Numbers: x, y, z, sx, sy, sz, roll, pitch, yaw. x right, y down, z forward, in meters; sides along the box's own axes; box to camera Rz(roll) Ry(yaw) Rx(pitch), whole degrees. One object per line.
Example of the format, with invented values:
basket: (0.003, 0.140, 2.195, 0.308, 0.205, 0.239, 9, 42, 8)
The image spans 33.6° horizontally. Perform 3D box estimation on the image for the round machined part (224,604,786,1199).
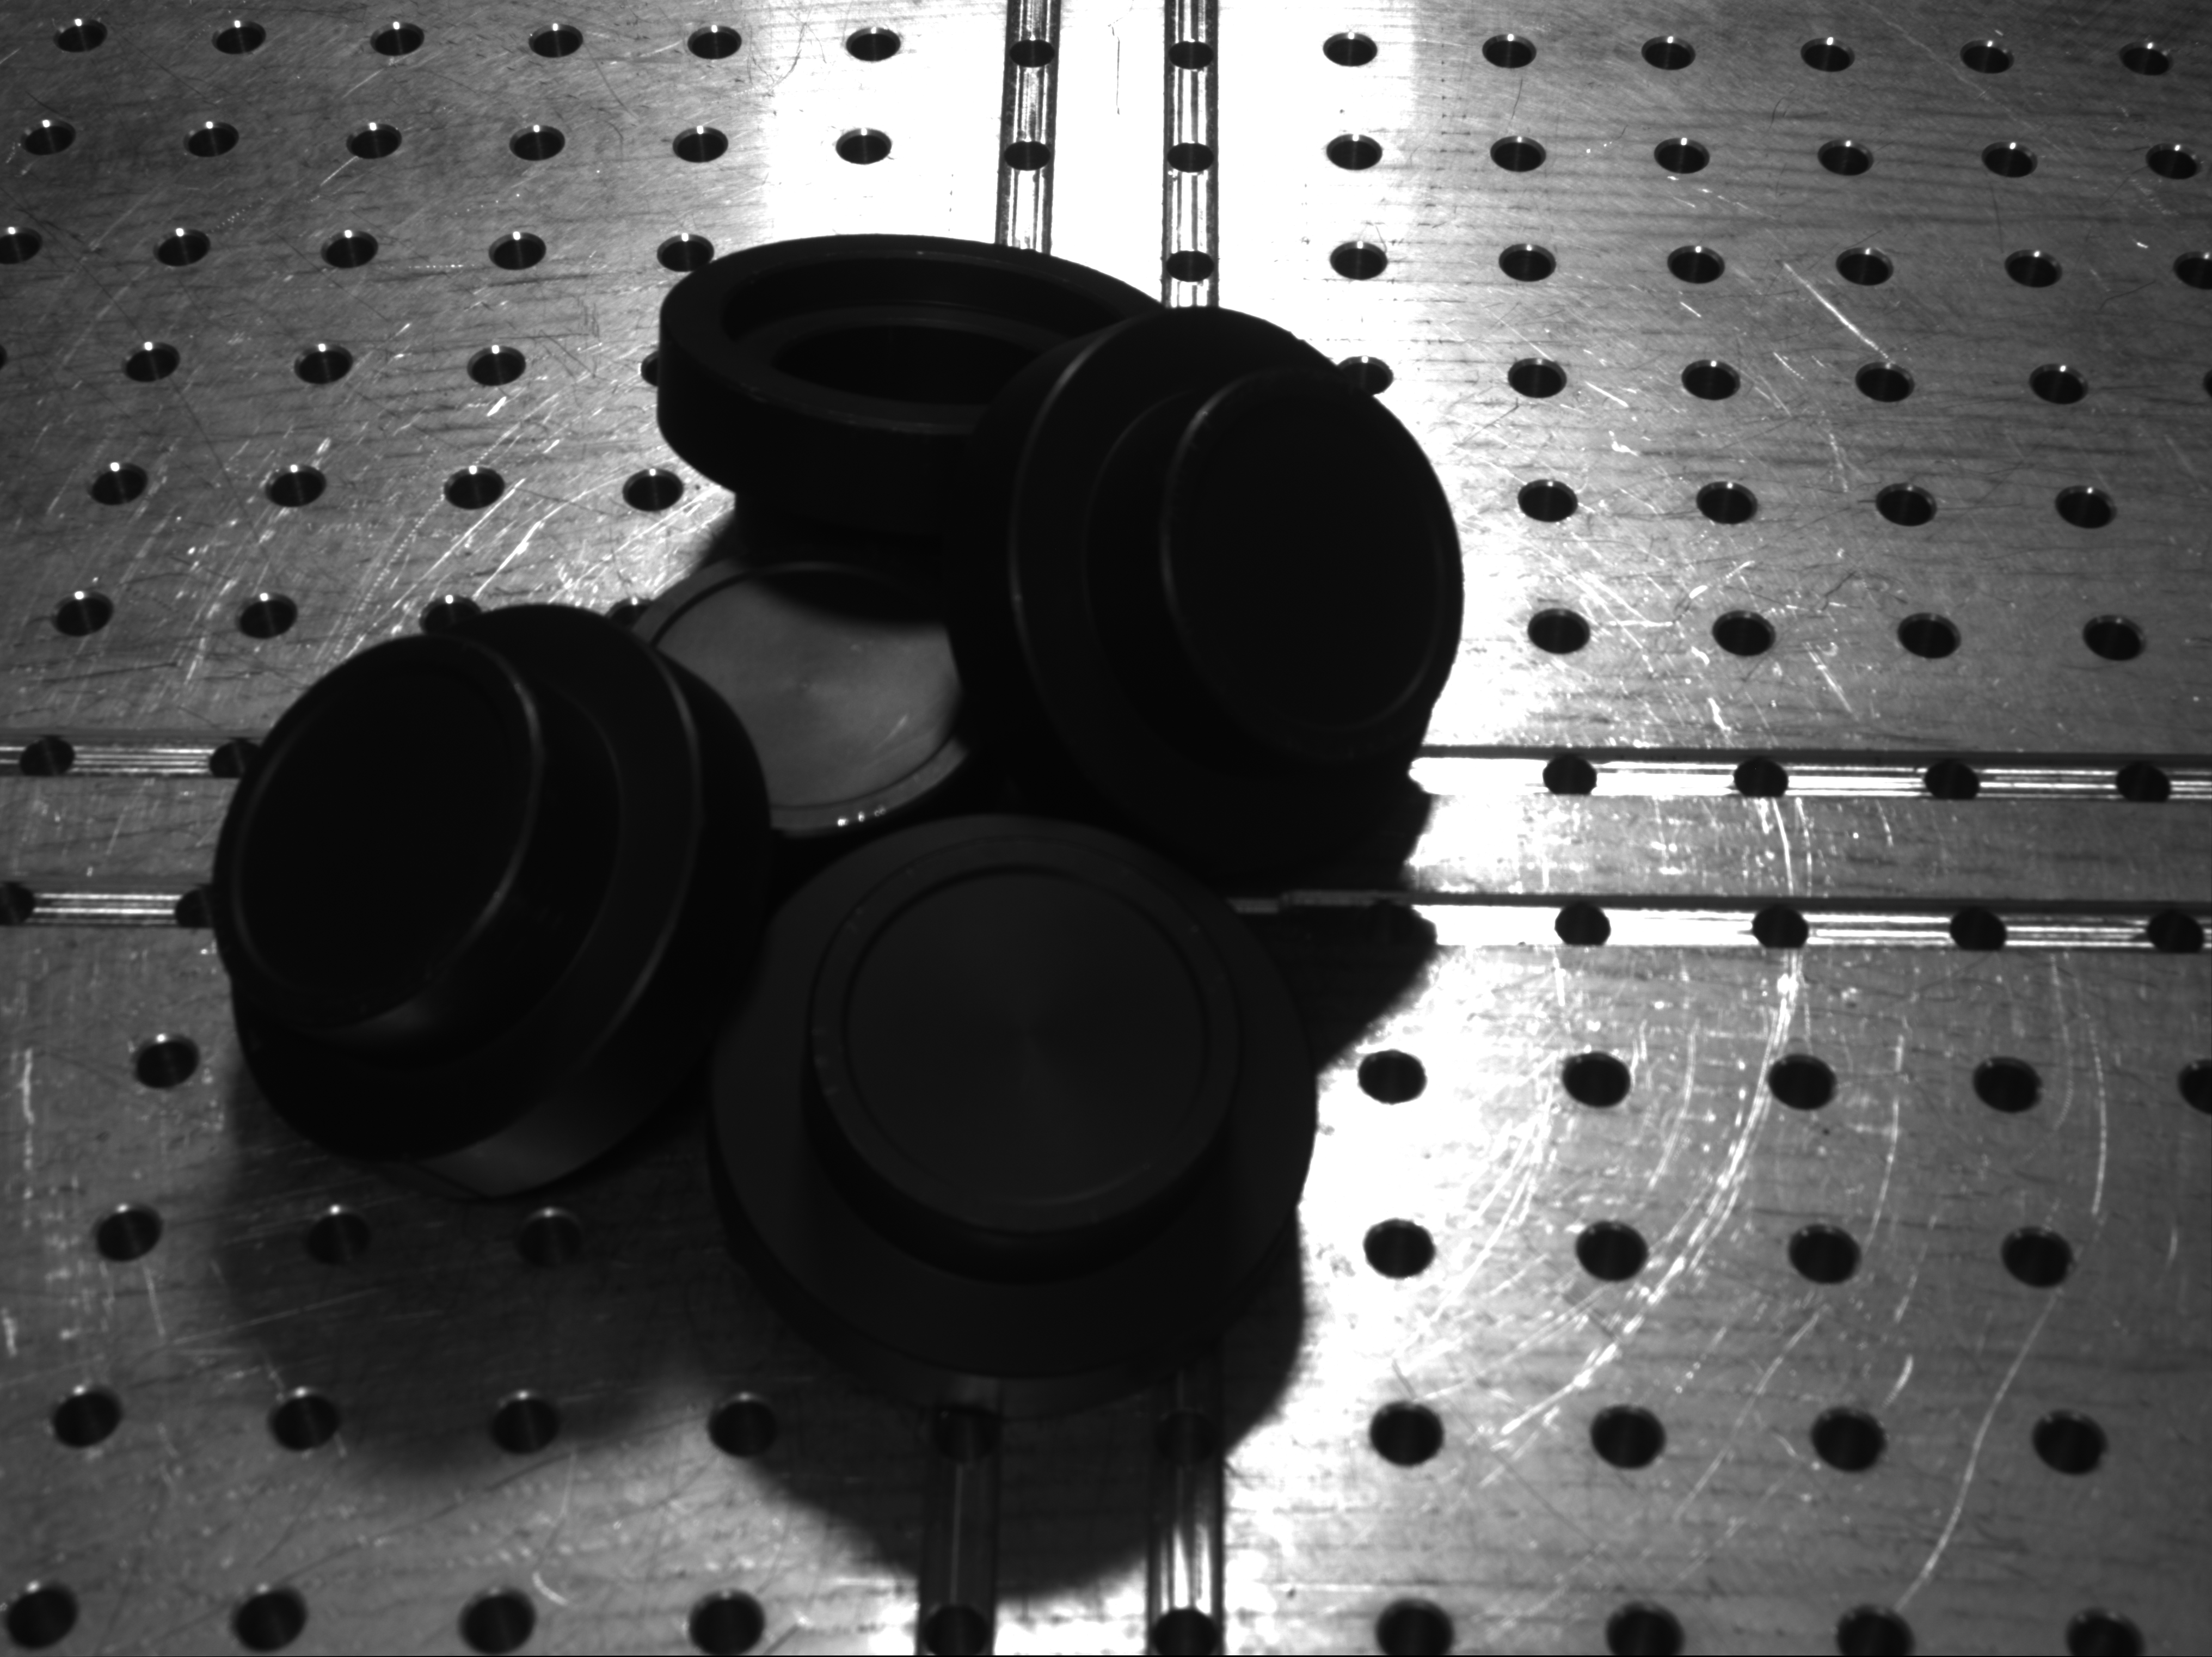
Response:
round machined part: (-0.104, 0.007, 0.597, 0.098, 0.042, 0.098, -14, 60, 26)

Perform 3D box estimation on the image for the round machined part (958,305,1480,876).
round machined part: (0.026, -0.042, 0.631, 0.042, 0.098, 0.098, -9, 32, 51)

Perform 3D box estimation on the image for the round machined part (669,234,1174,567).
round machined part: (-0.032, -0.074, 0.682, 0.098, 0.042, 0.098, 4, 29, -2)

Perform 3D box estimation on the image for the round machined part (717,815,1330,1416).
round machined part: (-0.013, 0.040, 0.584, 0.098, 0.042, 0.098, 3, 61, -5)

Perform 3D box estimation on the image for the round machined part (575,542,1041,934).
round machined part: (-0.051, -0.012, 0.643, 0.098, 0.042, 0.098, 0, 50, 0)
